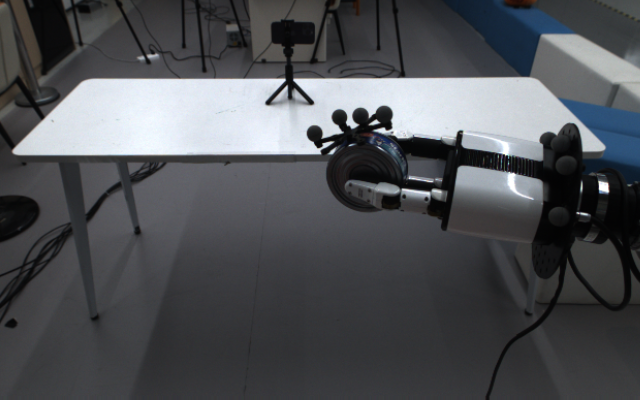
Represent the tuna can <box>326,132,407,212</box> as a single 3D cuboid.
[{"bbox_3d":[0.053,-0.031,0.529,0.085,0.085,0.034,11,34,13],"label":"tuna can"}]
